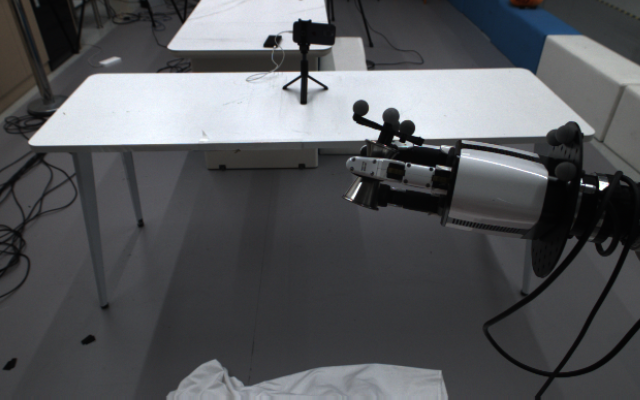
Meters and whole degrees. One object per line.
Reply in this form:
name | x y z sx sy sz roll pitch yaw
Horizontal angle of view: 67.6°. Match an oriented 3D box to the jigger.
jigger | 0.055 -0.028 0.528 0.043 0.071 0.043 22 5 -2
